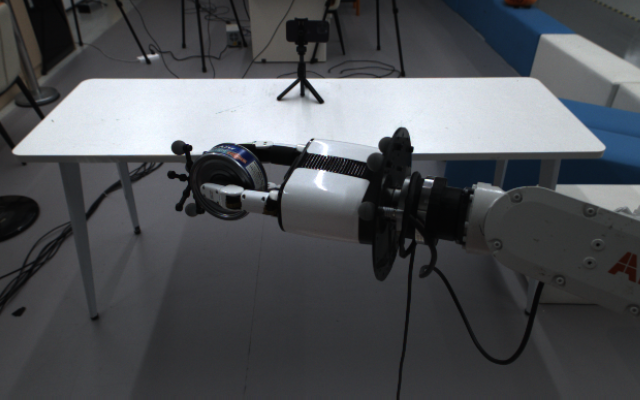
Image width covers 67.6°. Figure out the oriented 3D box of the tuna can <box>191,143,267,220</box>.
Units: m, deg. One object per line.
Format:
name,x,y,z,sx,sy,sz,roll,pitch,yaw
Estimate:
tuna can,-0.103,-0.022,0.558,0.085,0.085,0.034,12,28,14
